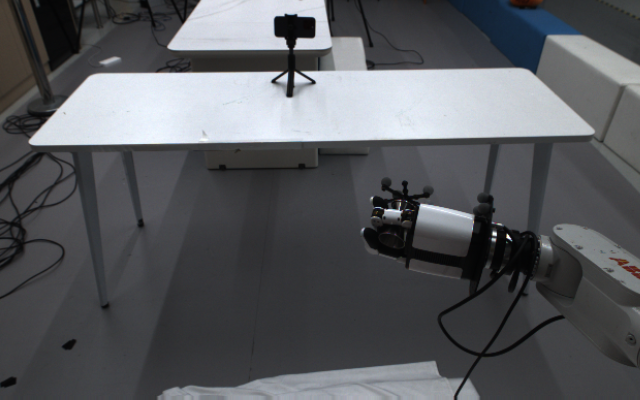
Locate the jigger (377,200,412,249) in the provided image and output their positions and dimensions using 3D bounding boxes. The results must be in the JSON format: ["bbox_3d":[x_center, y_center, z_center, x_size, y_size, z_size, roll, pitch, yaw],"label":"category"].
[{"bbox_3d":[0.126,0.036,0.770,0.043,0.043,0.071,13,58,16],"label":"jigger"}]
